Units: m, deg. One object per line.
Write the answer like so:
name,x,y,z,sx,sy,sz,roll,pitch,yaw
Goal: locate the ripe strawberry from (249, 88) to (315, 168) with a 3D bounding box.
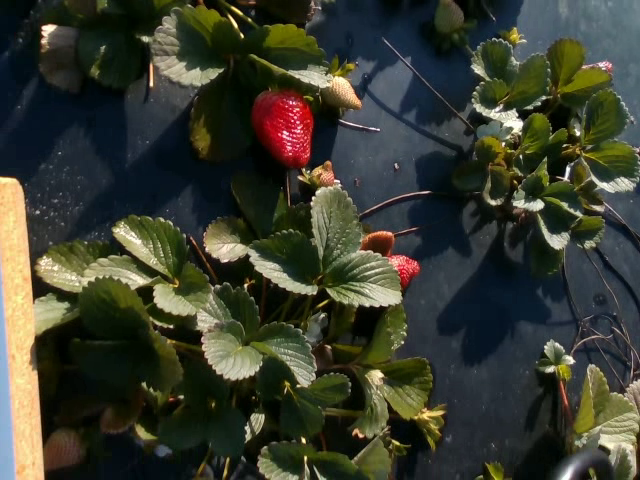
ripe strawberry,-0.024,-0.082,0.504,0.057,0.072,0.055,-31,-23,25
